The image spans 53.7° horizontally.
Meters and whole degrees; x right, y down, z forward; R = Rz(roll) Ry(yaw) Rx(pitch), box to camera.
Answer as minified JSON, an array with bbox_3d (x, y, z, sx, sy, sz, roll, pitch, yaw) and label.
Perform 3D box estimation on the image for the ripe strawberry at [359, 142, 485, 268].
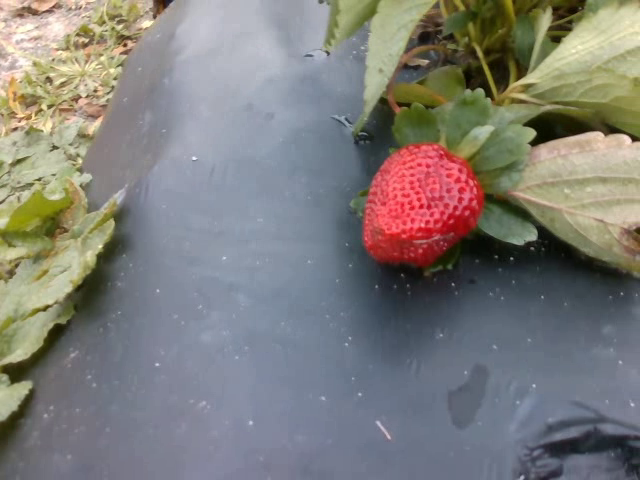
[{"bbox_3d":[0.030,-0.010,0.217,0.046,0.049,0.064,-42,-7,40],"label":"ripe strawberry"}]
